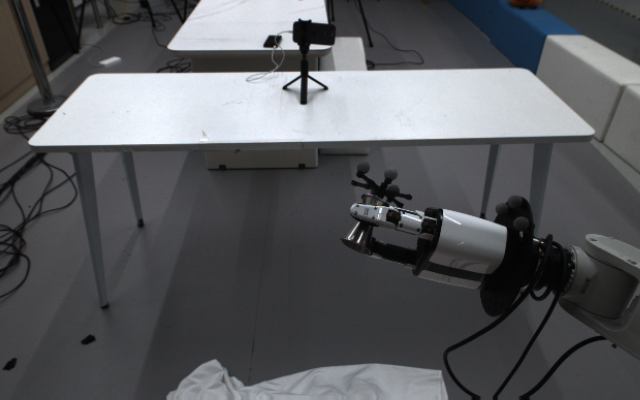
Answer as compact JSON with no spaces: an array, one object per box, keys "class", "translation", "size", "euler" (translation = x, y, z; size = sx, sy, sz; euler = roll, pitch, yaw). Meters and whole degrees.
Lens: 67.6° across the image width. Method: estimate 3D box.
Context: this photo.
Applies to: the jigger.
[{"class":"jigger","translation":[0.059,0.028,0.627],"size":[0.043,0.043,0.071],"euler":[19,72,23]}]
